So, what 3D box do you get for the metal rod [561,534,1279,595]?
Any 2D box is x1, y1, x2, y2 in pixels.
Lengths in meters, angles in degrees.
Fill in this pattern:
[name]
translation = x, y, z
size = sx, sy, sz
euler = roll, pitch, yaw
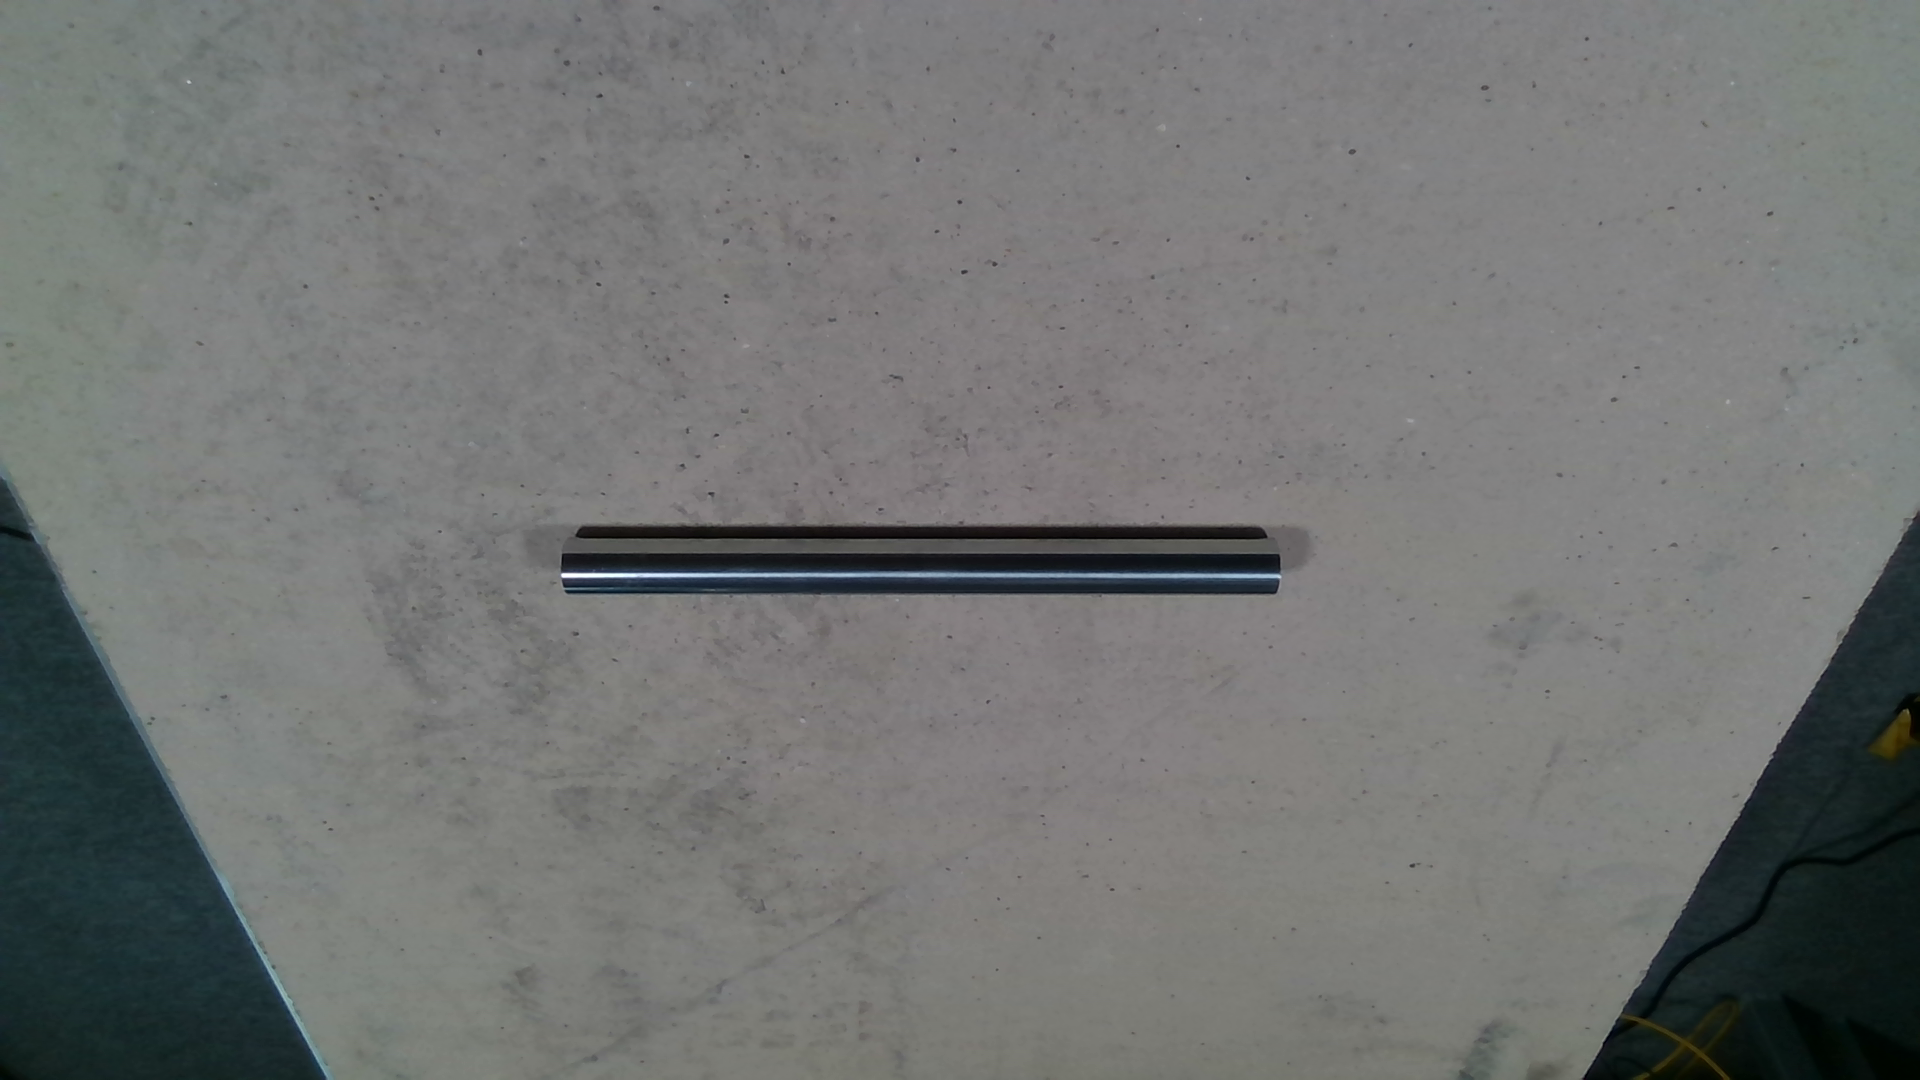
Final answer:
[metal rod]
translation = -0.016, 0.010, 0.588
size = 0.300, 0.025, 0.025
euler = 0, 130, 0
